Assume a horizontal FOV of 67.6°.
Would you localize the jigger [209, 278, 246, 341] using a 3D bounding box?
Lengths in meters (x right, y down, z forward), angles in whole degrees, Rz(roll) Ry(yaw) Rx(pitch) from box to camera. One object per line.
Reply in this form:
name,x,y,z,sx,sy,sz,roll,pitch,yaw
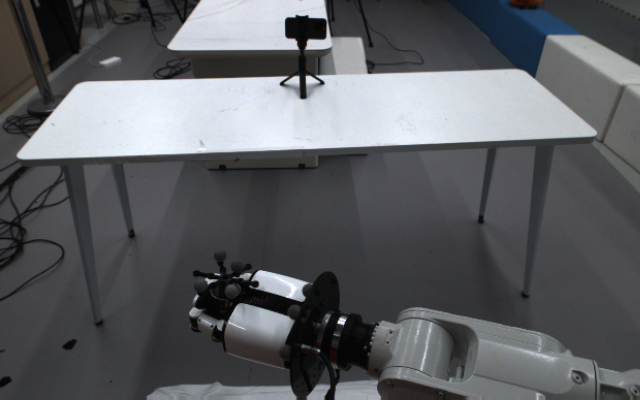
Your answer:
jigger,-0.125,0.149,0.656,0.043,0.071,0.043,5,26,-3
